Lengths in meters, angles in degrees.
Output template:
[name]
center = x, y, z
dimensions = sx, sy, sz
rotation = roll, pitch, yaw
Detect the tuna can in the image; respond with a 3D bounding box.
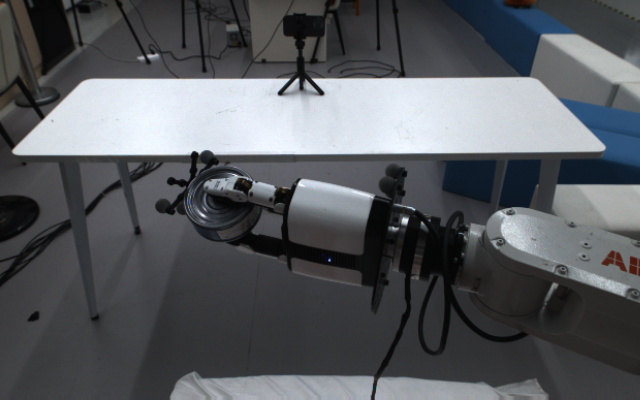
[tuna can]
center = -0.108, 0.008, 0.556
dimensions = 0.085, 0.034, 0.085
rotation = -1, 61, 2
